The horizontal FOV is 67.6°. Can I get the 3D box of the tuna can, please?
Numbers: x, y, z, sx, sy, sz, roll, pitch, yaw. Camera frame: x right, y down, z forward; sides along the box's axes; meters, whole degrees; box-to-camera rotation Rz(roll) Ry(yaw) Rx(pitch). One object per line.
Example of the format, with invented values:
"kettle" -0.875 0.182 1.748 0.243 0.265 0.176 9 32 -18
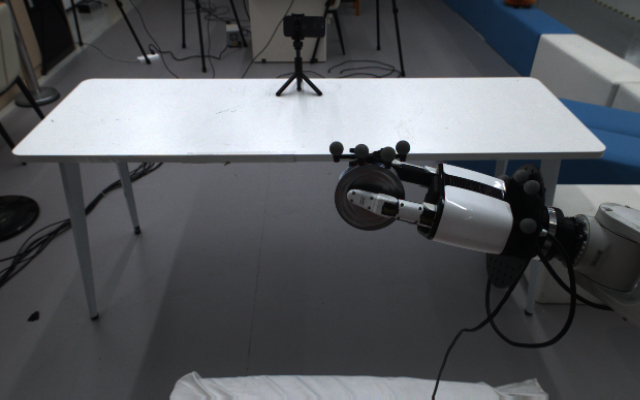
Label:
"tuna can" 0.063 -0.008 0.603 0.085 0.085 0.034 4 17 3
